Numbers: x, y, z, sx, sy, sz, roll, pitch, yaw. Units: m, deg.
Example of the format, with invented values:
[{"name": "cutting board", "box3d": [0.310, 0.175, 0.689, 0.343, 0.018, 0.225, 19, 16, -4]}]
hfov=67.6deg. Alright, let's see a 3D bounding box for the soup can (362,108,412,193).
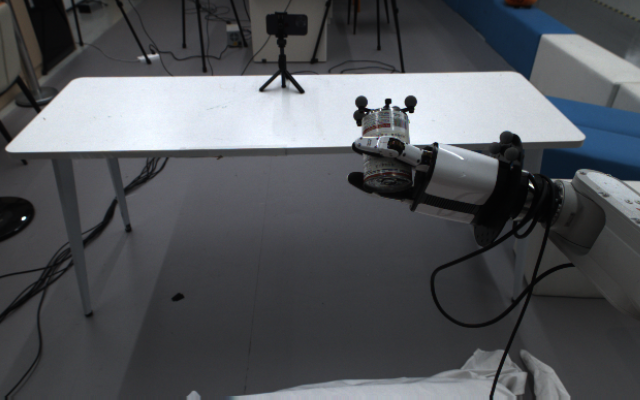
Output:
[{"name": "soup can", "box3d": [0.093, -0.068, 0.672, 0.067, 0.067, 0.101, 1, 72, -2]}]
